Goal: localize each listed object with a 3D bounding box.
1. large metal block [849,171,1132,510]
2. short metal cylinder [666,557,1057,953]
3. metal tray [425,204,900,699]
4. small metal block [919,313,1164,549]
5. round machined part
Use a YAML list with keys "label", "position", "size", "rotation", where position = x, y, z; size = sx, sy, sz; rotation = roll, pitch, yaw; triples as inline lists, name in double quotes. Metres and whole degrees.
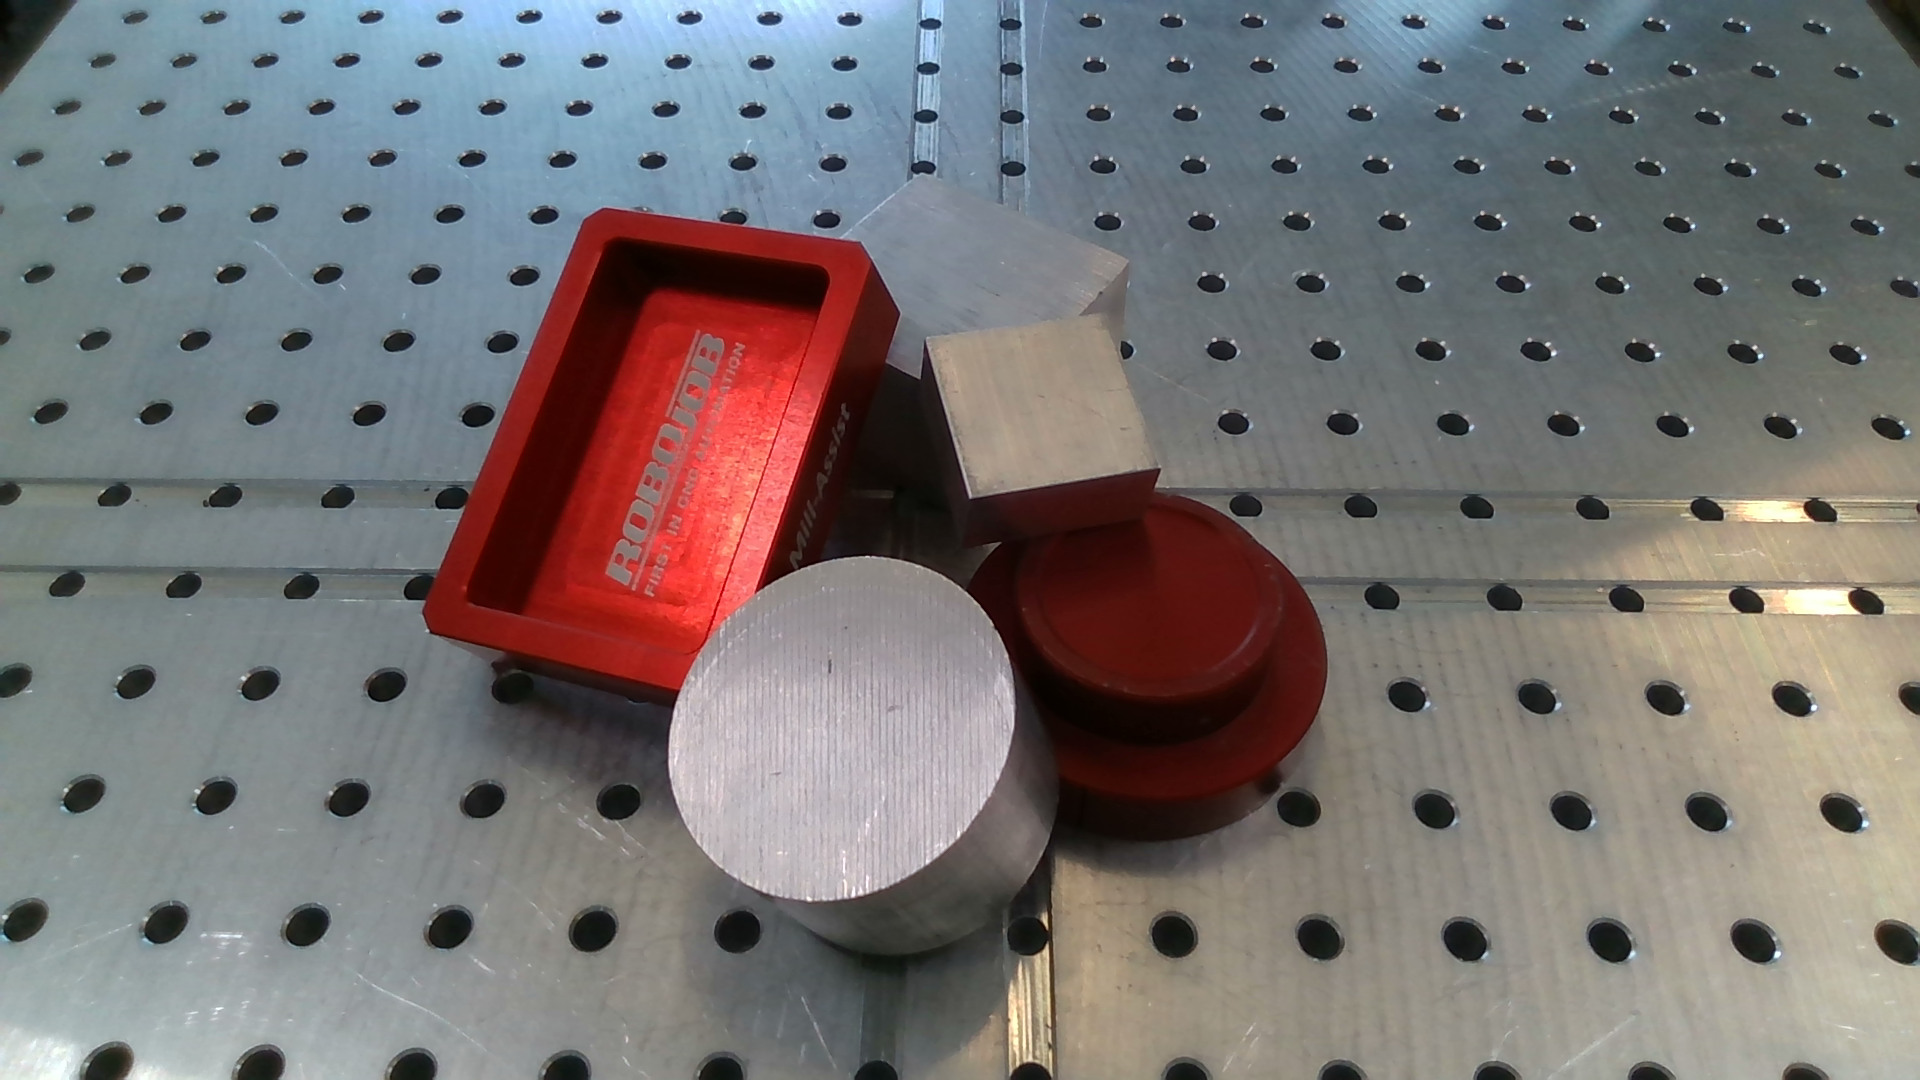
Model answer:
- label: "large metal block"
  position: [-0.003, -0.062, 0.432]
  size: [0.080, 0.050, 0.080]
  rotation: [29, 56, 22]
- label: "short metal cylinder"
  position: [-0.021, 0.051, 0.323]
  size: [0.080, 0.050, 0.080]
  rotation: [-7, 61, 12]
- label: "metal tray"
  position: [-0.079, -0.024, 0.377]
  size: [0.090, 0.030, 0.130]
  rotation: [11, 73, 18]
- label: "small metal block"
  position: [0.020, -0.029, 0.361]
  size: [0.050, 0.025, 0.050]
  rotation: [-9, 62, -11]
- label: "round machined part"
  position: [0.047, 0.026, 0.364]
  size: [0.098, 0.042, 0.098]
  rotation: [0, 50, 0]
